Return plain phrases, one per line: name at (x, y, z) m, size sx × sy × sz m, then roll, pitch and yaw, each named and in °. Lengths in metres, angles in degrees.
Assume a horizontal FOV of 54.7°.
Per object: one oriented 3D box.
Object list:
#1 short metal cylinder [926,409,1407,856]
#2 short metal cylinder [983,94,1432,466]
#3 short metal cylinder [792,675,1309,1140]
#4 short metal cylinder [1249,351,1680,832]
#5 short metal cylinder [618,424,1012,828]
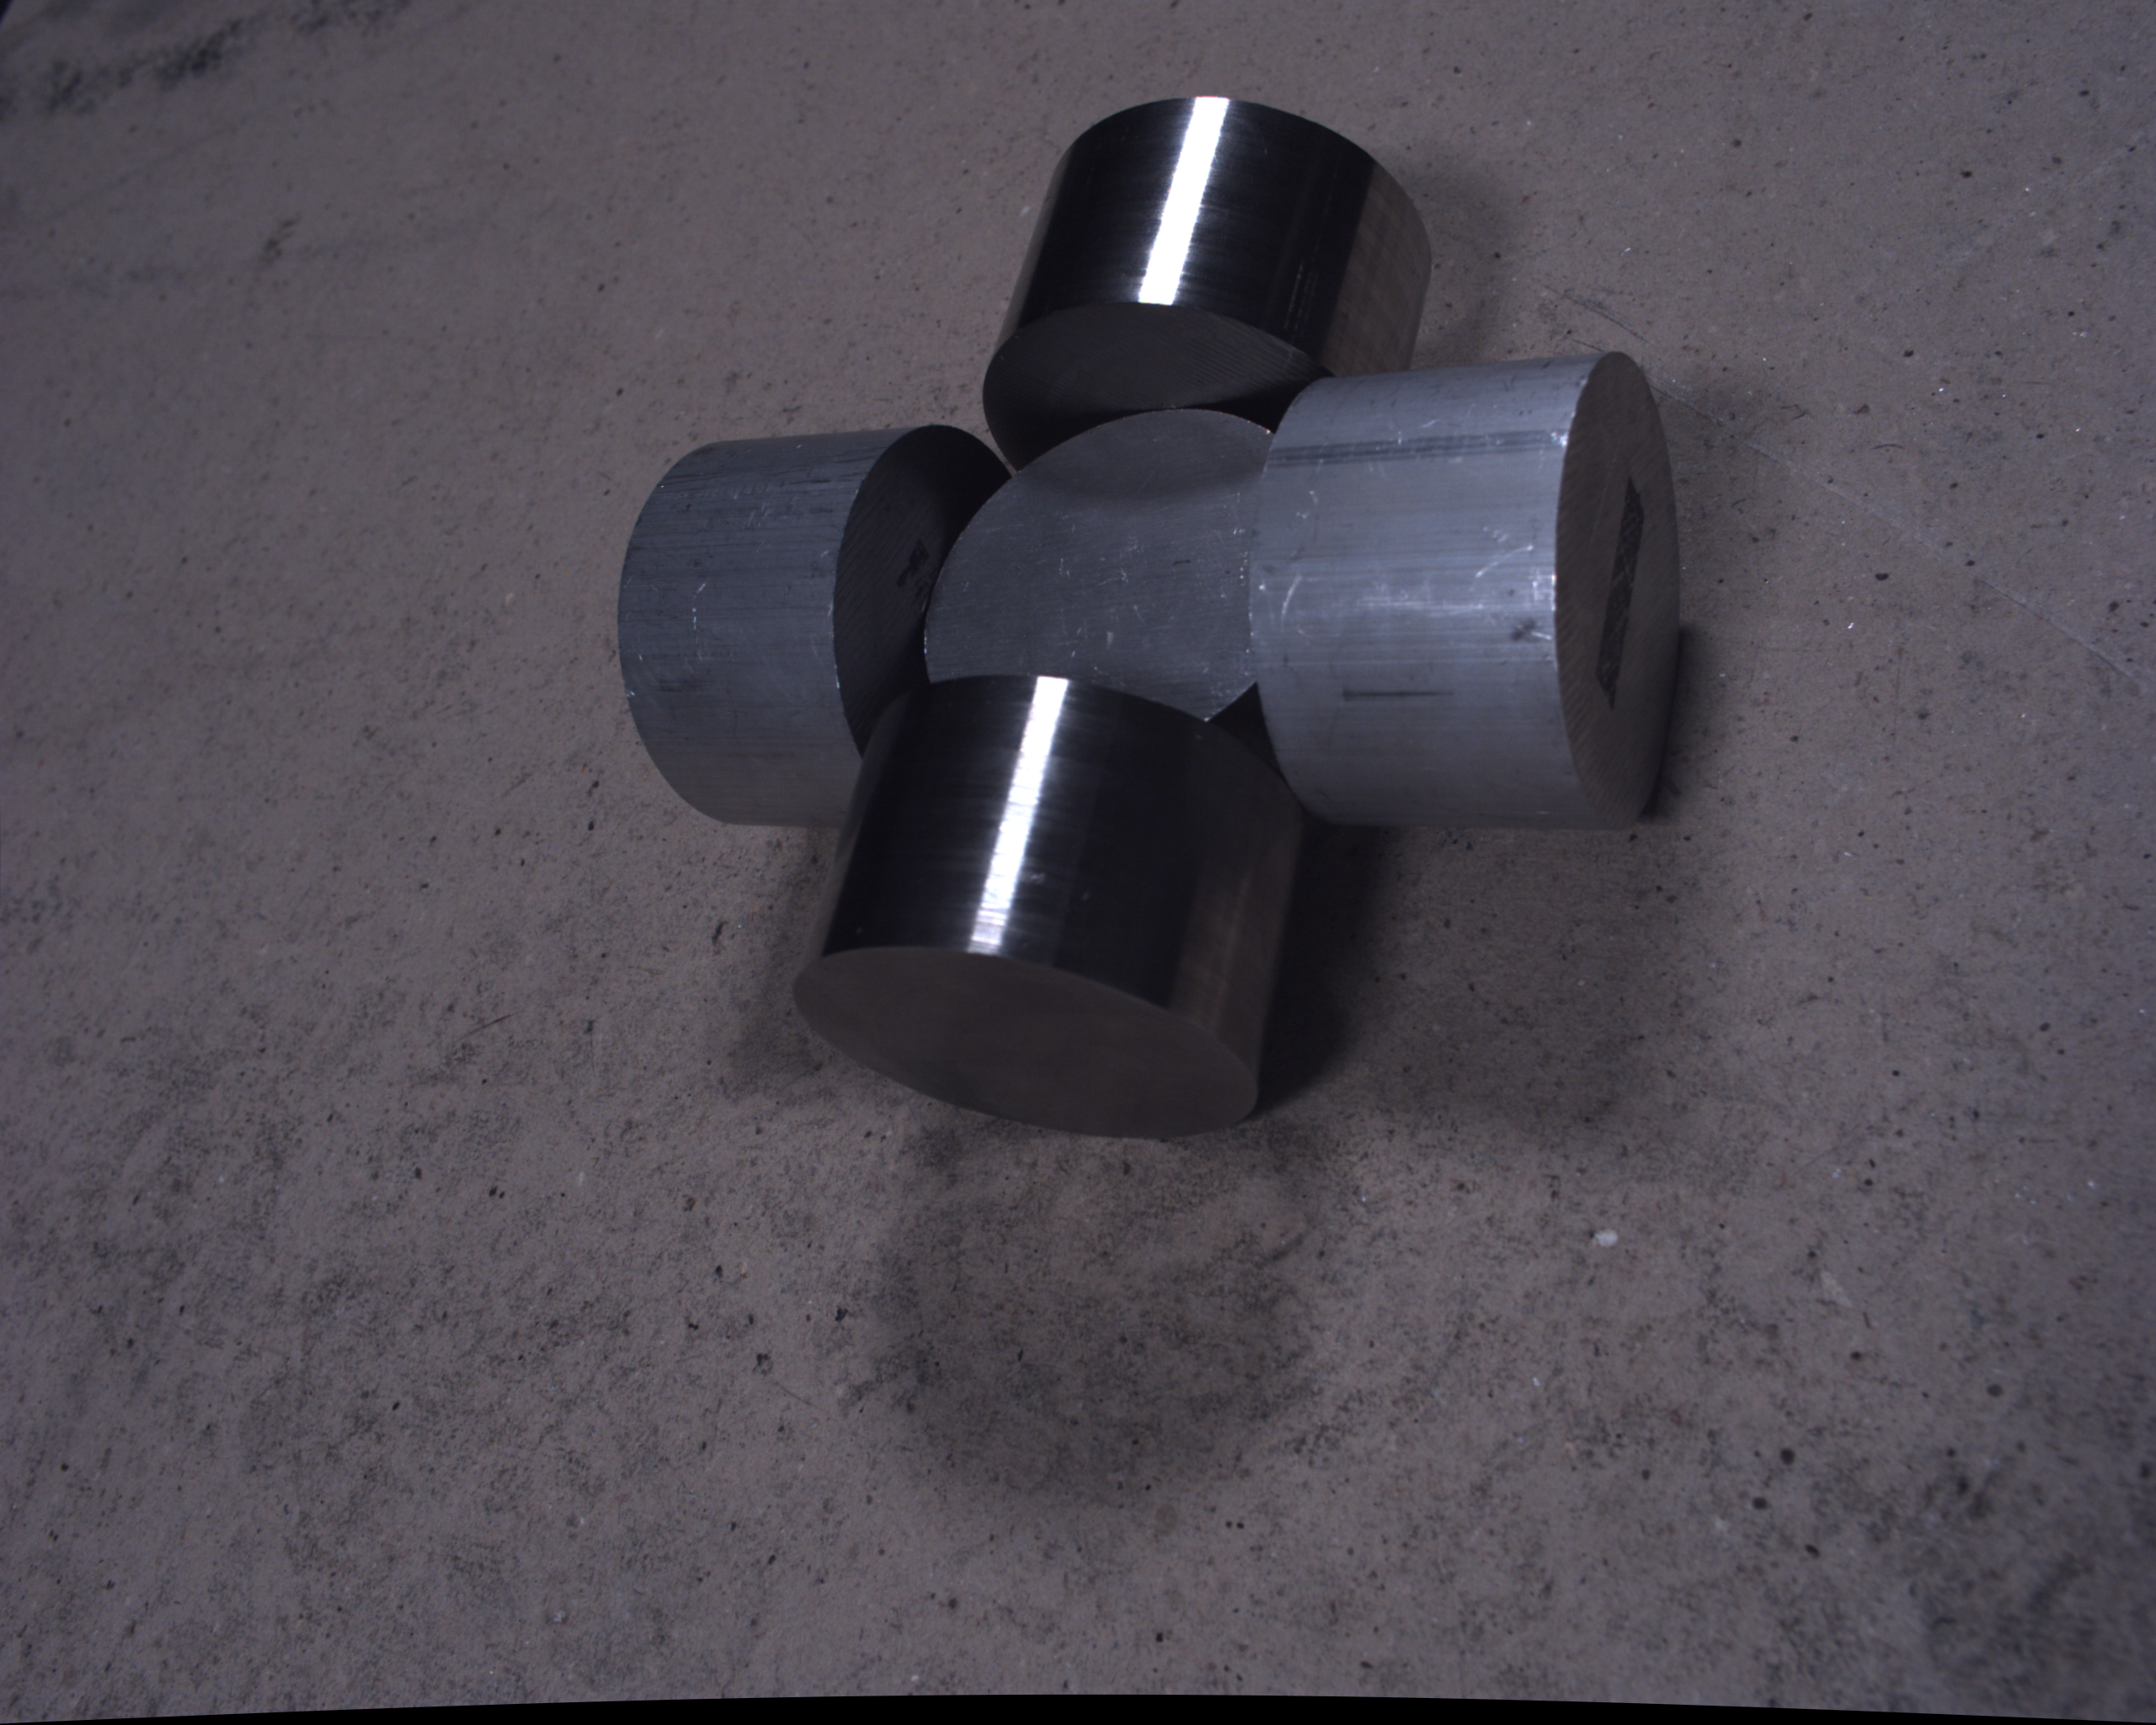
short metal cylinder at (0.018, -0.040, 0.404) m, size 0.080 × 0.050 × 0.080 m, roll -13°, pitch 56°, yaw 20°
short metal cylinder at (0.026, -0.105, 0.419) m, size 0.080 × 0.080 × 0.050 m, roll 2°, pitch 63°, yaw 28°
short metal cylinder at (-0.004, 0.010, 0.364) m, size 0.080 × 0.080 × 0.050 m, roll 0°, pitch 62°, yaw 28°
short metal cylinder at (0.069, -0.046, 0.361) m, size 0.050 × 0.080 × 0.080 m, roll 2°, pitch 63°, yaw 29°
short metal cylinder at (-0.046, -0.047, 0.422) m, size 0.050 × 0.080 × 0.080 m, roll 2°, pitch 63°, yaw 29°
